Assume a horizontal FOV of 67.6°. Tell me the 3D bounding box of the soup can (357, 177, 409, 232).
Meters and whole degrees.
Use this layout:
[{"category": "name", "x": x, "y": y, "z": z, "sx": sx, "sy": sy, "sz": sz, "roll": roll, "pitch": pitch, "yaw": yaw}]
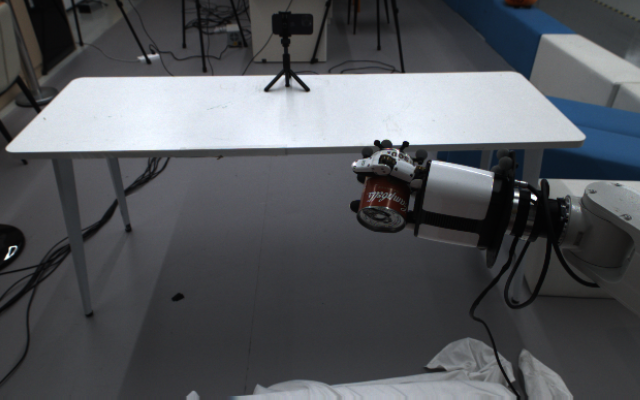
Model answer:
[{"category": "soup can", "x": 0.094, "y": -0.015, "z": 0.676, "sx": 0.067, "sy": 0.067, "sz": 0.101, "roll": 9, "pitch": 58, "yaw": 10}]
